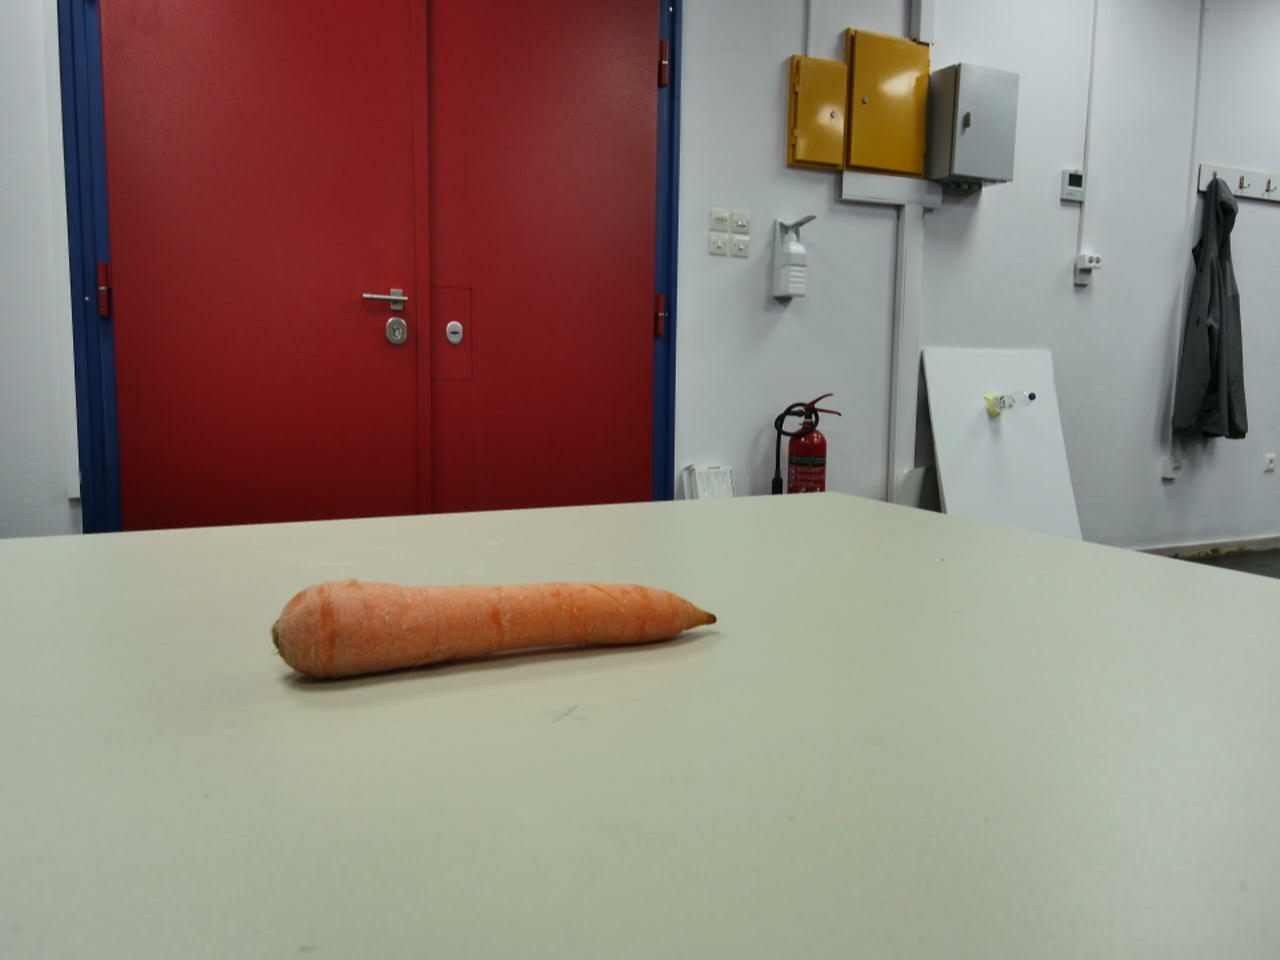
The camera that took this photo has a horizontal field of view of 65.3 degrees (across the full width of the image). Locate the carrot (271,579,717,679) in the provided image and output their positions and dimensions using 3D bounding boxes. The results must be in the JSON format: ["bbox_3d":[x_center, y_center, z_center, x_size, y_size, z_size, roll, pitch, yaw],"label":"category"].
[{"bbox_3d":[-0.054,0.057,0.434,0.196,0.041,0.039,-3,5,-25],"label":"carrot"}]
